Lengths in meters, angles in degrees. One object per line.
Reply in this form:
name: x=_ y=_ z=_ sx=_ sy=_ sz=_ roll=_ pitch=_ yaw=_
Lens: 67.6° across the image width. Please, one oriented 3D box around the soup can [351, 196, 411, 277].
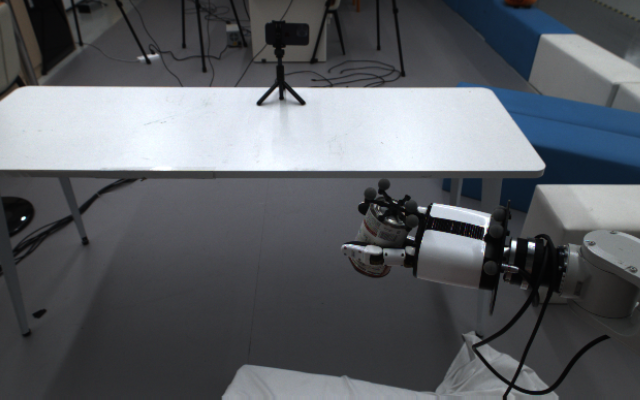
soup can: x=0.089 y=0.054 z=0.704 sx=0.067 sy=0.101 sz=0.067 roll=13 pitch=35 yaw=-9
